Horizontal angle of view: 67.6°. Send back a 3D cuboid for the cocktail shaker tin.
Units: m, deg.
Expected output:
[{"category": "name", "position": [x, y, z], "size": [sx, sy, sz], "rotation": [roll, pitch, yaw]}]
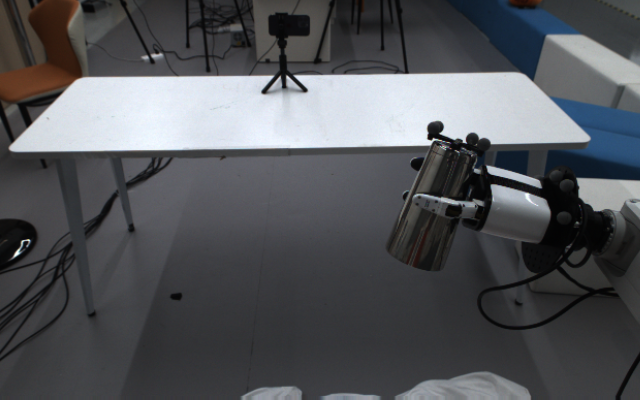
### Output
[{"category": "cocktail shaker tin", "position": [0.165, 0.004, 0.698], "size": [0.093, 0.170, 0.093], "rotation": [15, 17, -5]}]
